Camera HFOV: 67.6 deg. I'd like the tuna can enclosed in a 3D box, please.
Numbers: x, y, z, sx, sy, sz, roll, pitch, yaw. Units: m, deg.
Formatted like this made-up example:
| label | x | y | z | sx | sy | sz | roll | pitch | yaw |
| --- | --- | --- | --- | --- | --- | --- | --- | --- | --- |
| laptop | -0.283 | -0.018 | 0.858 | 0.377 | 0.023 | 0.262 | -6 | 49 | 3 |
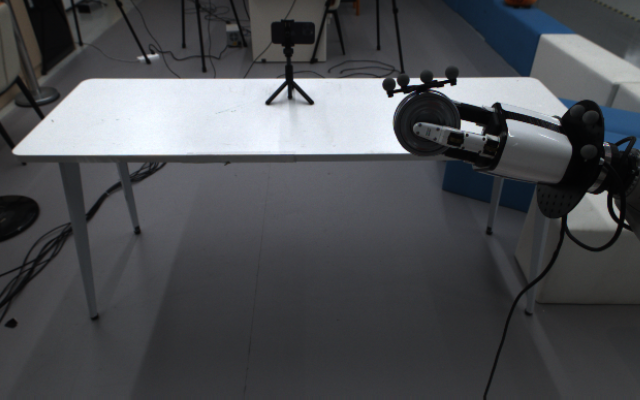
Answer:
| label | x | y | z | sx | sy | sz | roll | pitch | yaw |
| --- | --- | --- | --- | --- | --- | --- | --- | --- | --- |
| tuna can | 0.141 | -0.103 | 0.638 | 0.085 | 0.085 | 0.034 | 6 | 18 | 5 |
